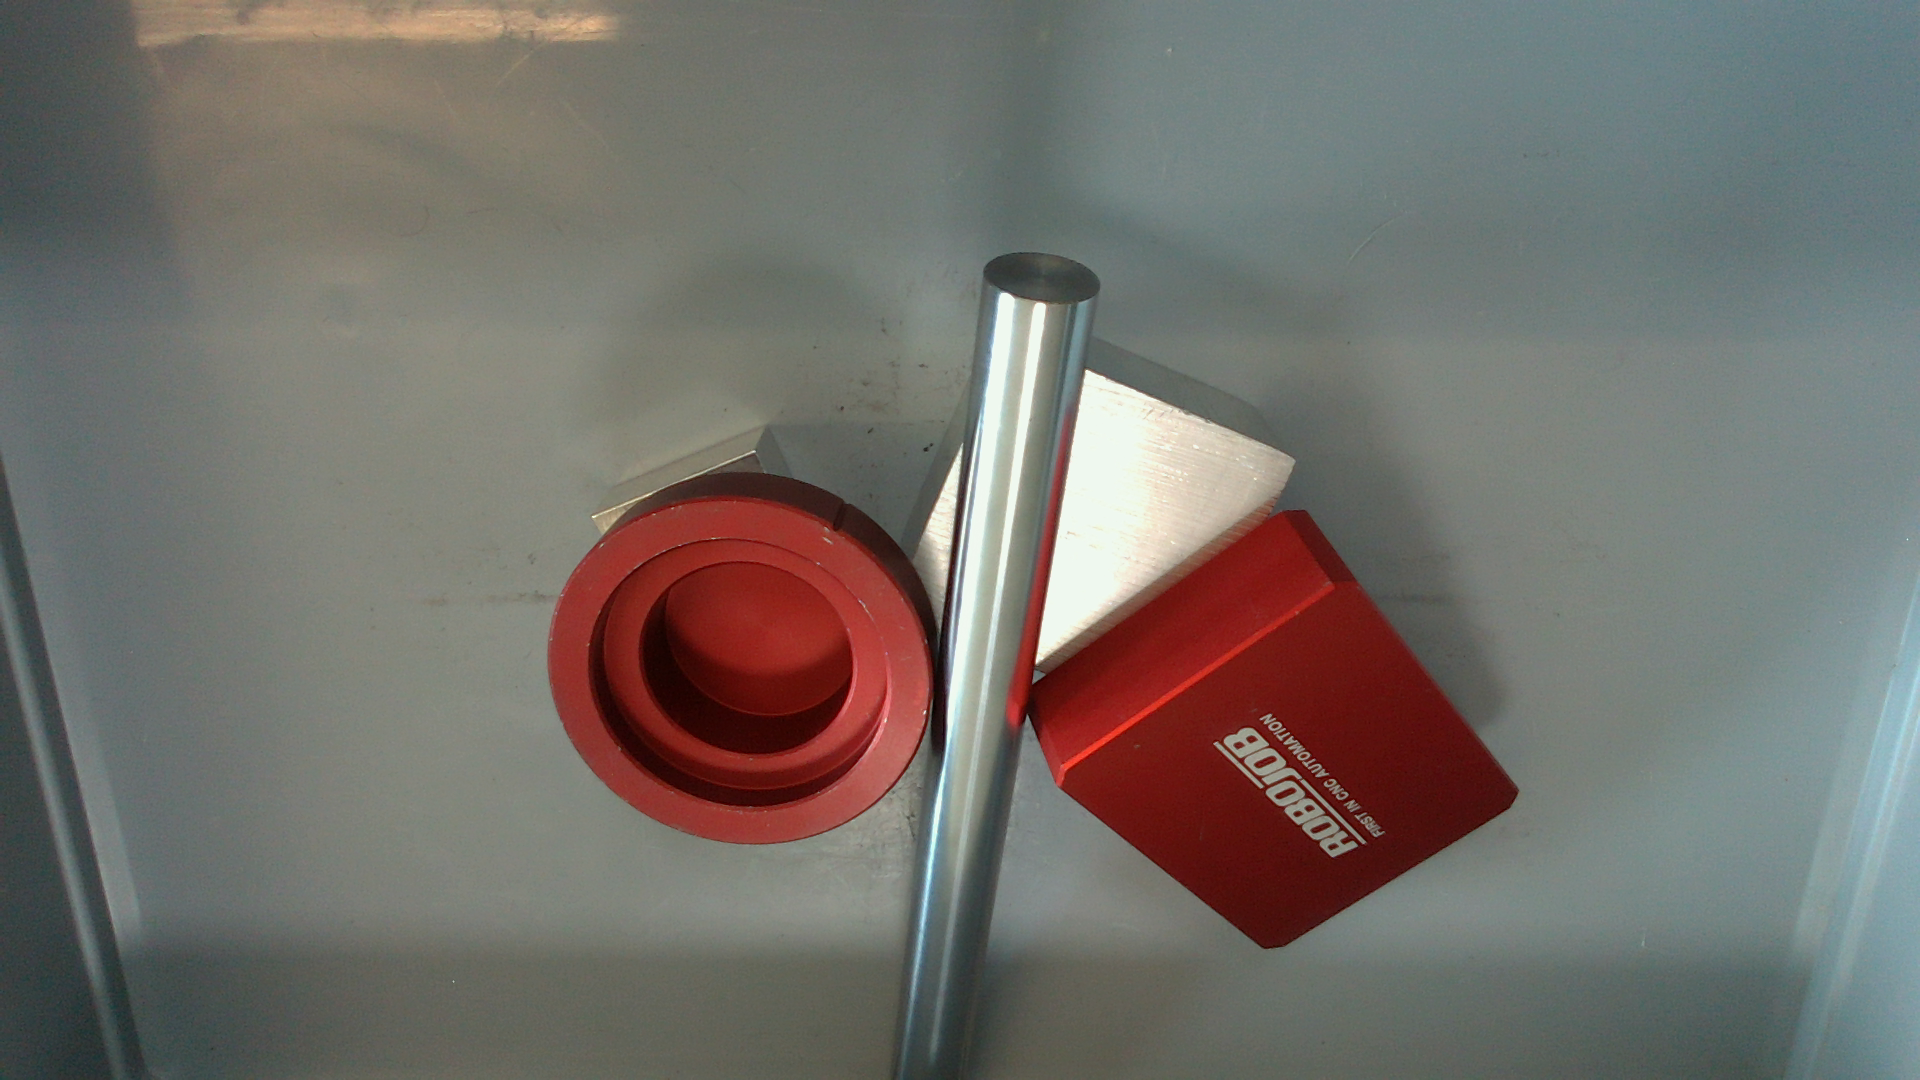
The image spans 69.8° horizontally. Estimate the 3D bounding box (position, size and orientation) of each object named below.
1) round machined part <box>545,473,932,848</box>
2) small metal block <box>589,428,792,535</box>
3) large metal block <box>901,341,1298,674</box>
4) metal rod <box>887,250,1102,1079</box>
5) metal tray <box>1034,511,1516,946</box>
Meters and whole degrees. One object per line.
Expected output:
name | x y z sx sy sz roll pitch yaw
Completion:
round machined part | -0.055 0.028 0.365 0.098 0.042 0.098 1 111 3
small metal block | -0.069 0.002 0.394 0.050 0.025 0.050 -21 109 7
large metal block | 0.033 -0.010 0.377 0.080 0.050 0.080 21 109 -8
metal rod | 0.002 0.065 0.374 0.025 0.025 0.300 6 126 -2
metal tray | 0.090 0.059 0.385 0.090 0.030 0.130 -37 131 13
